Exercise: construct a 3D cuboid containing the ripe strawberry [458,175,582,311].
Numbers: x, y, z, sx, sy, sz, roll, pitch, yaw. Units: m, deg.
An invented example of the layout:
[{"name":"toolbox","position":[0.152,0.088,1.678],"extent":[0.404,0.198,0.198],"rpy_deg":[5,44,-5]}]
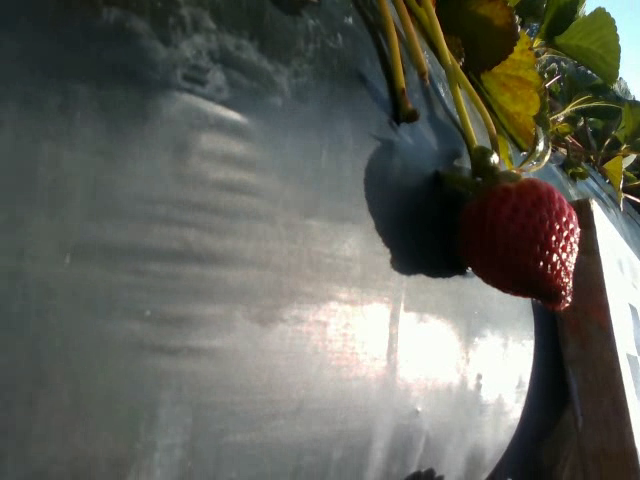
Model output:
[{"name":"ripe strawberry","position":[0.057,0.003,0.168],"extent":[0.036,0.044,0.040],"rpy_deg":[-26,-9,32]}]
